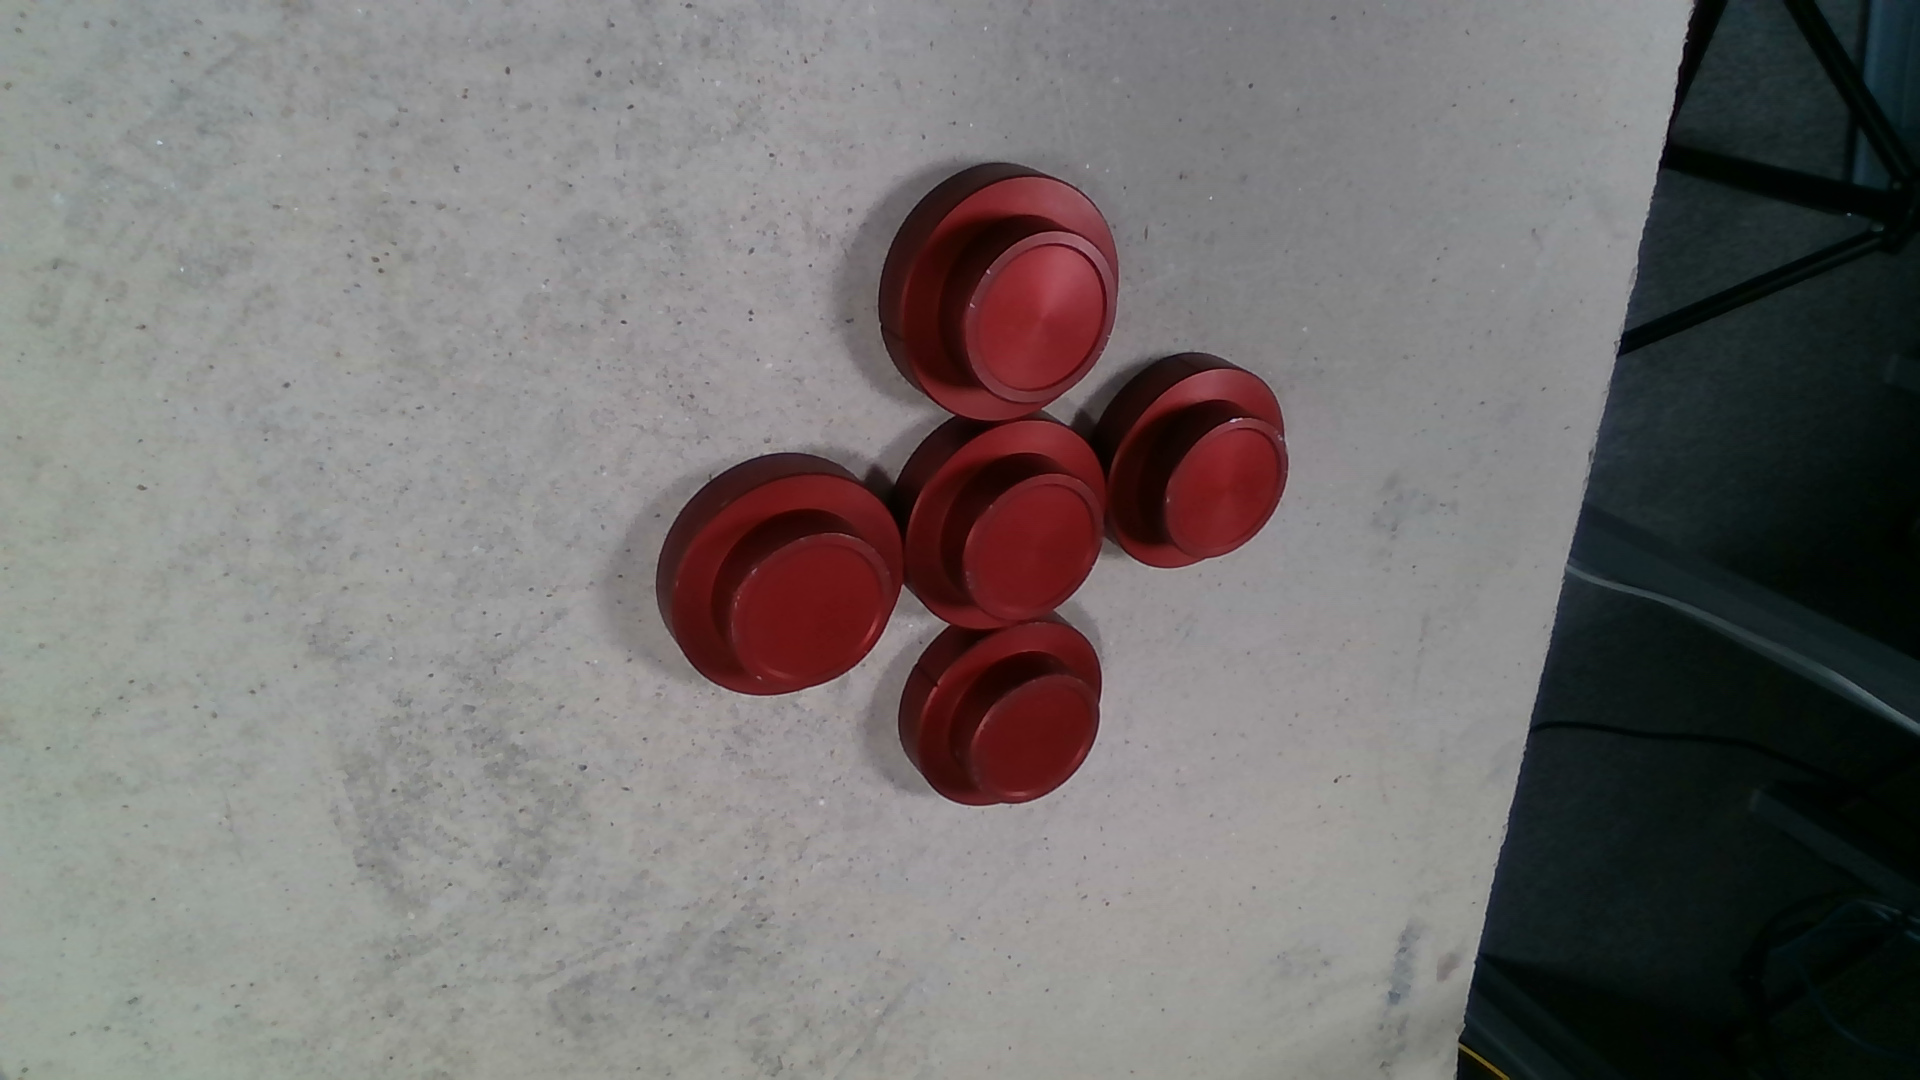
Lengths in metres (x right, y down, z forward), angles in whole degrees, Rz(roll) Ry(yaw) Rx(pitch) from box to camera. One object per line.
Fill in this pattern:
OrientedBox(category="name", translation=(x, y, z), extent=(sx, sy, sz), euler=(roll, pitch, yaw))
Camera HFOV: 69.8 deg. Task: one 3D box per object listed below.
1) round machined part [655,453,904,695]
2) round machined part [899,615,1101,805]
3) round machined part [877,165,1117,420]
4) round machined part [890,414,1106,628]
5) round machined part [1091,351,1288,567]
OrientedBox(category="round machined part", translation=(-0.065, 0.019, 0.539), extent=(0.098, 0.042, 0.098), euler=(-14, 122, -25))
OrientedBox(category="round machined part", translation=(0.024, 0.080, 0.628), extent=(0.098, 0.042, 0.098), euler=(-14, 122, -25))
OrientedBox(category="round machined part", translation=(0.021, -0.092, 0.533), extent=(0.098, 0.042, 0.098), euler=(-14, 122, -25))
OrientedBox(category="round machined part", translation=(0.021, -0.006, 0.580), extent=(0.098, 0.042, 0.098), euler=(-14, 122, -25))
OrientedBox(category="round machined part", translation=(0.107, -0.032, 0.619), extent=(0.098, 0.042, 0.098), euler=(-14, 122, -25))
